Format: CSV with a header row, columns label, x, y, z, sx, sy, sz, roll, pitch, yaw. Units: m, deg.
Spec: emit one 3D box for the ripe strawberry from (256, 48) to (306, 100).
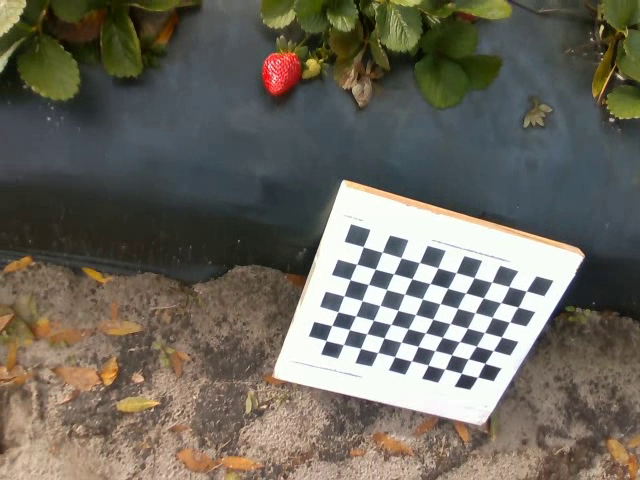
label,x,y,z,sx,sy,sz,roll,pitch,yaw
ripe strawberry,-0.041,-0.171,0.572,0.045,0.058,0.051,18,-23,-10
